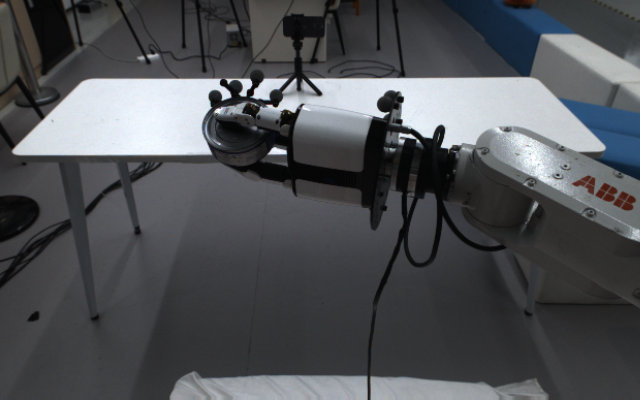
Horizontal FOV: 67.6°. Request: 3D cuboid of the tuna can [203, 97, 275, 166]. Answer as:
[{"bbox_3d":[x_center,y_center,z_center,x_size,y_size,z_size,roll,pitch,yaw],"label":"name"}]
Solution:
[{"bbox_3d":[-0.096,-0.084,0.596,0.085,0.034,0.085,-2,58,3],"label":"tuna can"}]
